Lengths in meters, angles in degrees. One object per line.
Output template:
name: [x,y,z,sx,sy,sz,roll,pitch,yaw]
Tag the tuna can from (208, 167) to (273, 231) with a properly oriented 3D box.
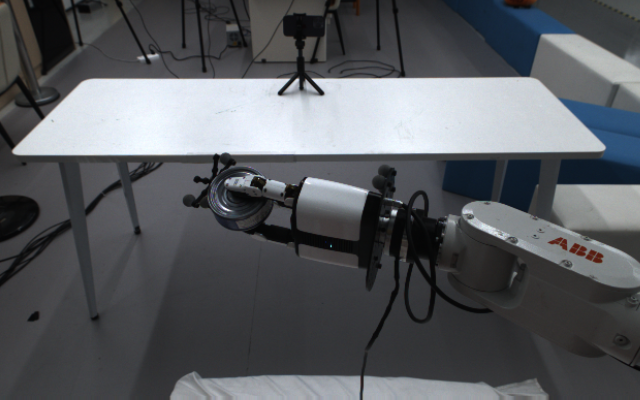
tuna can: [-0.104,0.001,0.653,0.085,0.034,0.085,-1,62,1]
